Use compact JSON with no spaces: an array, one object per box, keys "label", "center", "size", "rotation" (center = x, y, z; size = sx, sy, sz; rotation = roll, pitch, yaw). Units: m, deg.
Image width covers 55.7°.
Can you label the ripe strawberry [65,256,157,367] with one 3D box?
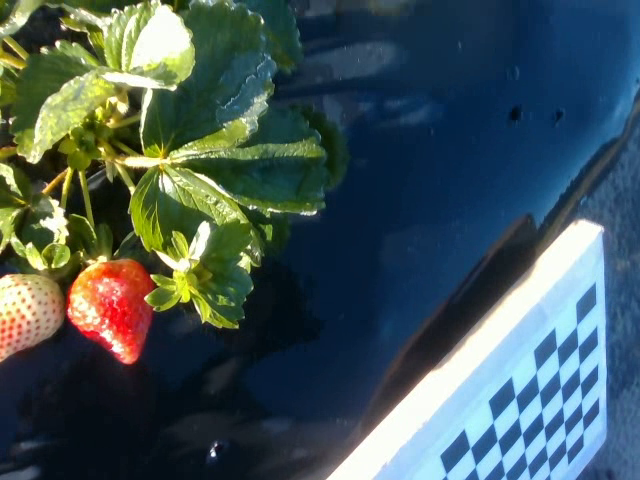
[{"label":"ripe strawberry","center":[-0.084,0.033,0.253],"size":[0.040,0.056,0.037],"rotation":[-35,-42,12]}]
